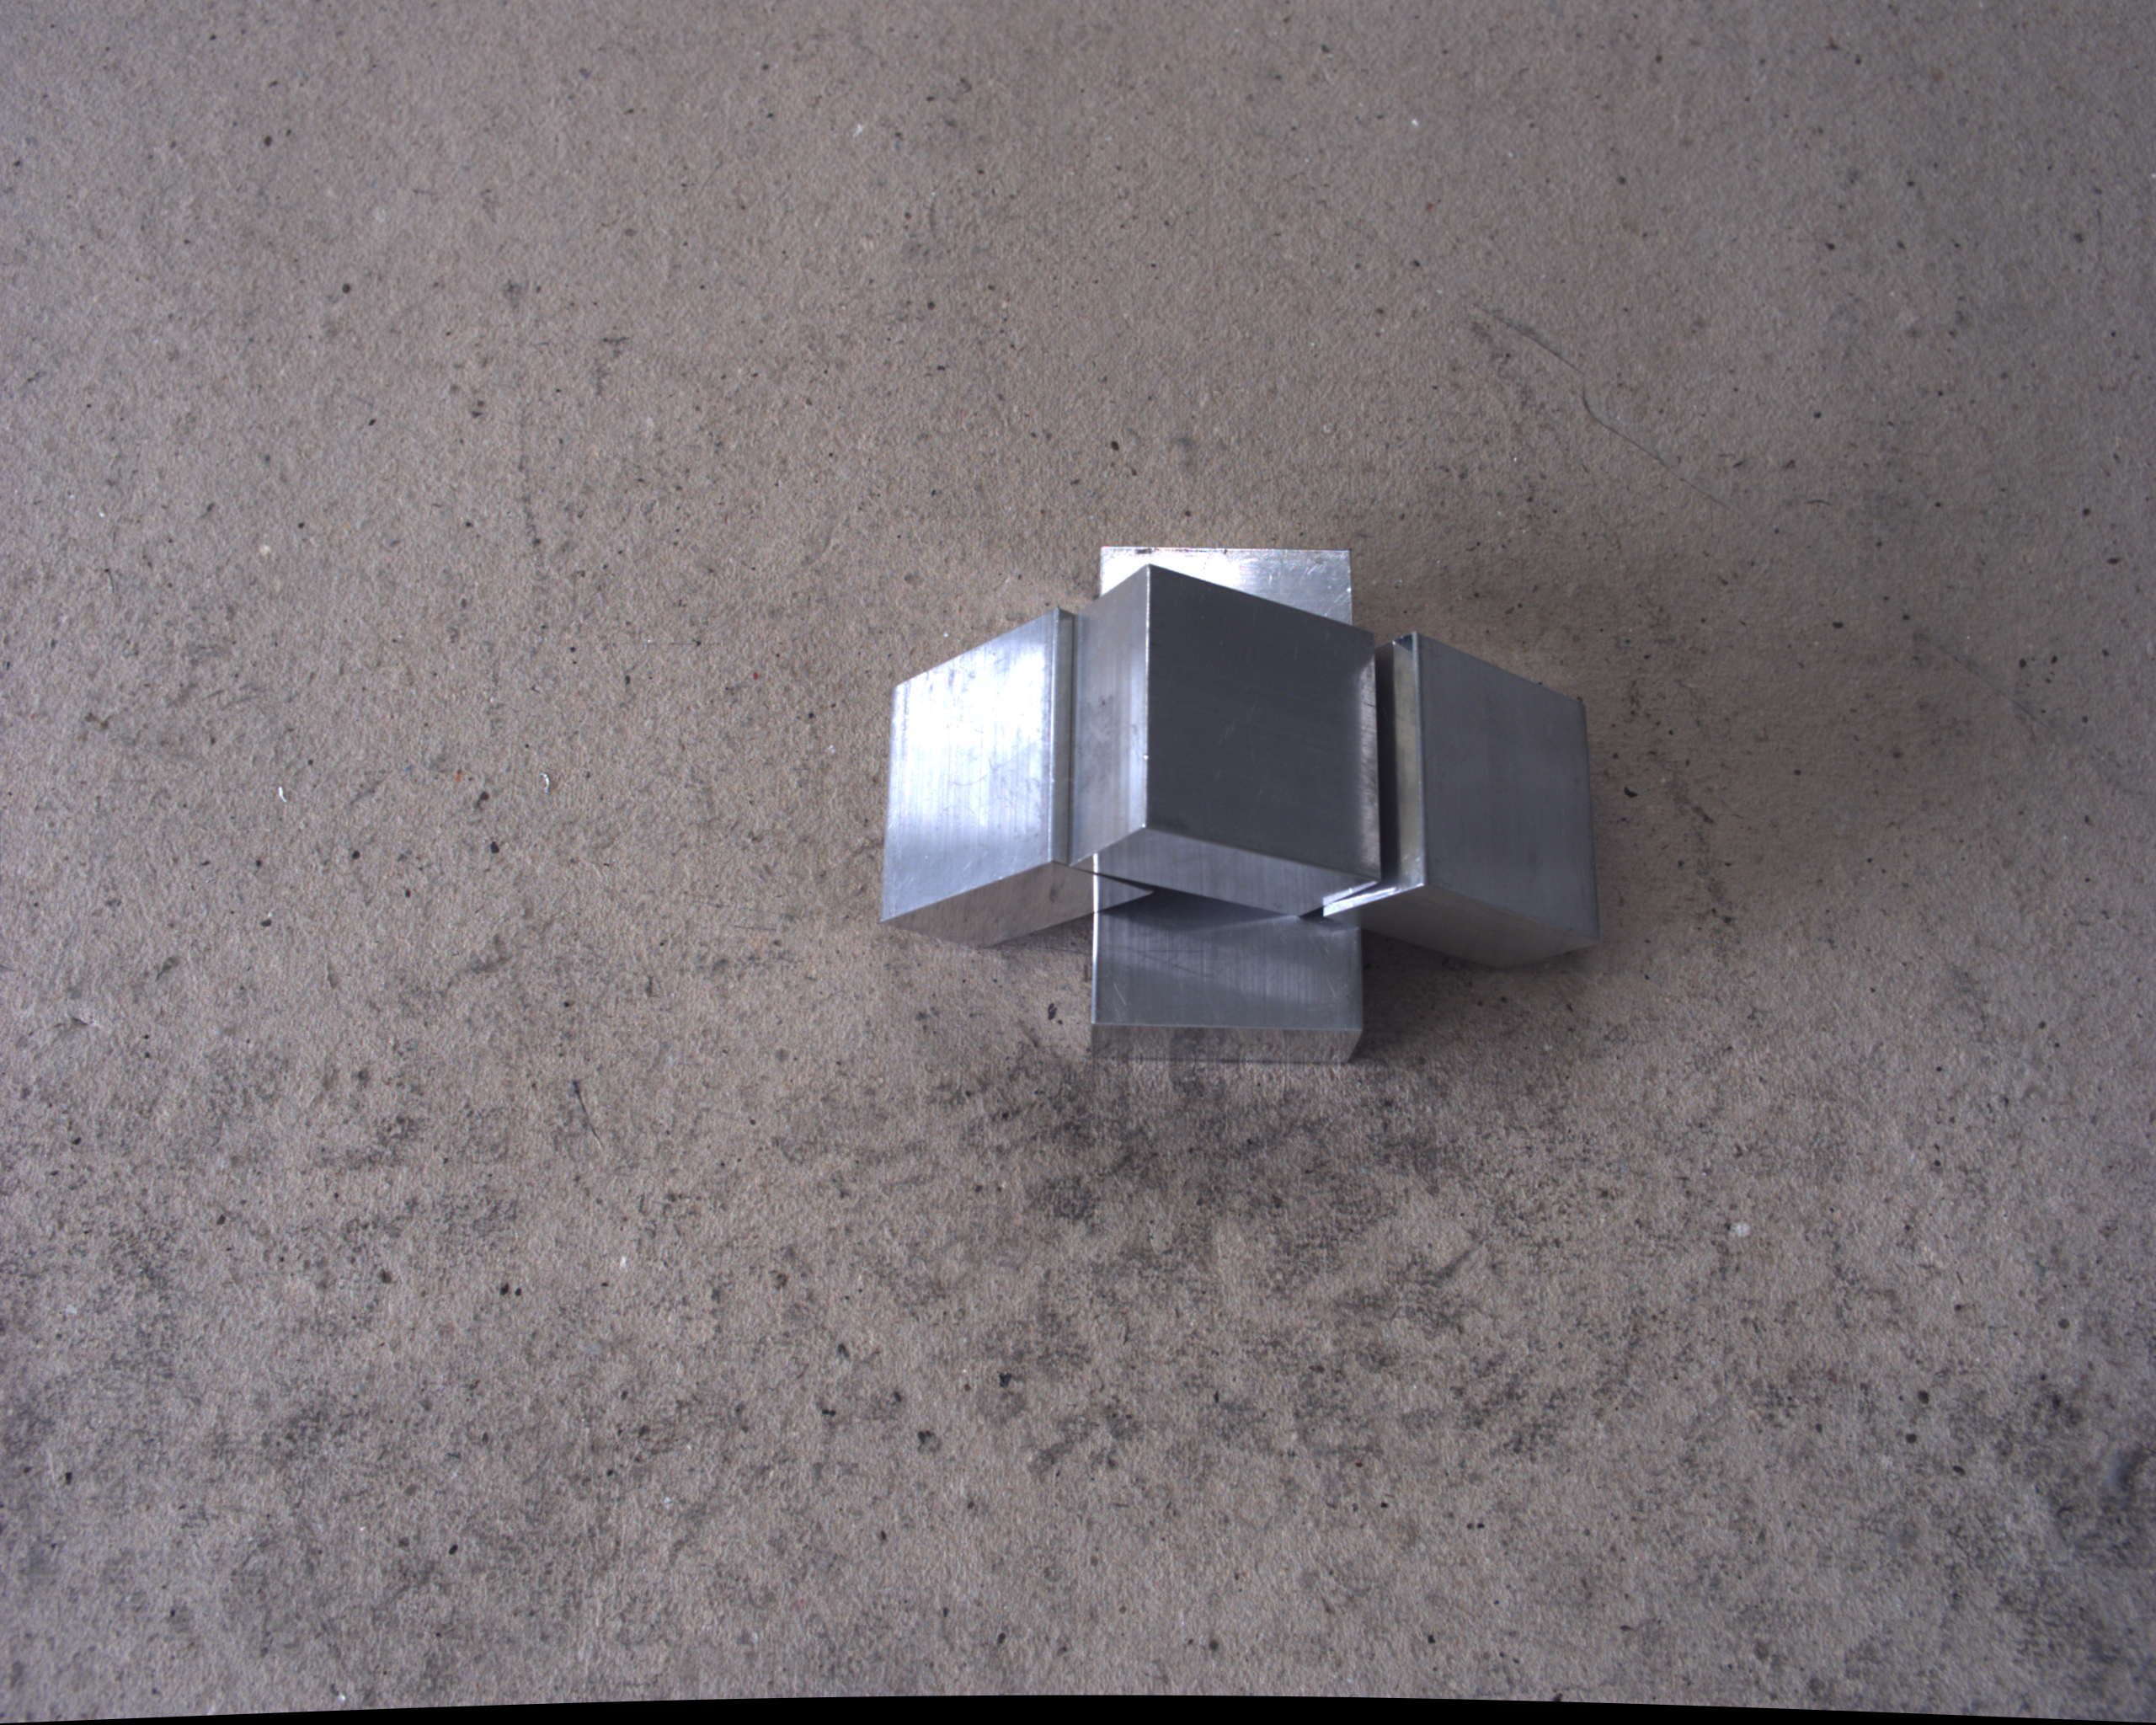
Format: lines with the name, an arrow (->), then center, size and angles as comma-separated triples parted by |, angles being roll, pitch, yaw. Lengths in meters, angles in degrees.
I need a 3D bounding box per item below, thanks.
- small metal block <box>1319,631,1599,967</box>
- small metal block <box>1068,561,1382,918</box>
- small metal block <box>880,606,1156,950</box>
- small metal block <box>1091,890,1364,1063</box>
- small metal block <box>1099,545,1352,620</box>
small metal block -> 0.073, -0.011, 0.400 | 0.050, 0.025, 0.050 | 17, 66, -37
small metal block -> 0.027, -0.021, 0.379 | 0.050, 0.025, 0.050 | 13, 67, -29
small metal block -> -0.011, -0.015, 0.400 | 0.025, 0.050, 0.050 | 18, 64, -39
small metal block -> 0.028, 0.011, 0.405 | 0.050, 0.025, 0.050 | 1, 70, 0
small metal block -> 0.029, -0.036, 0.422 | 0.050, 0.025, 0.050 | 1, 70, 0
